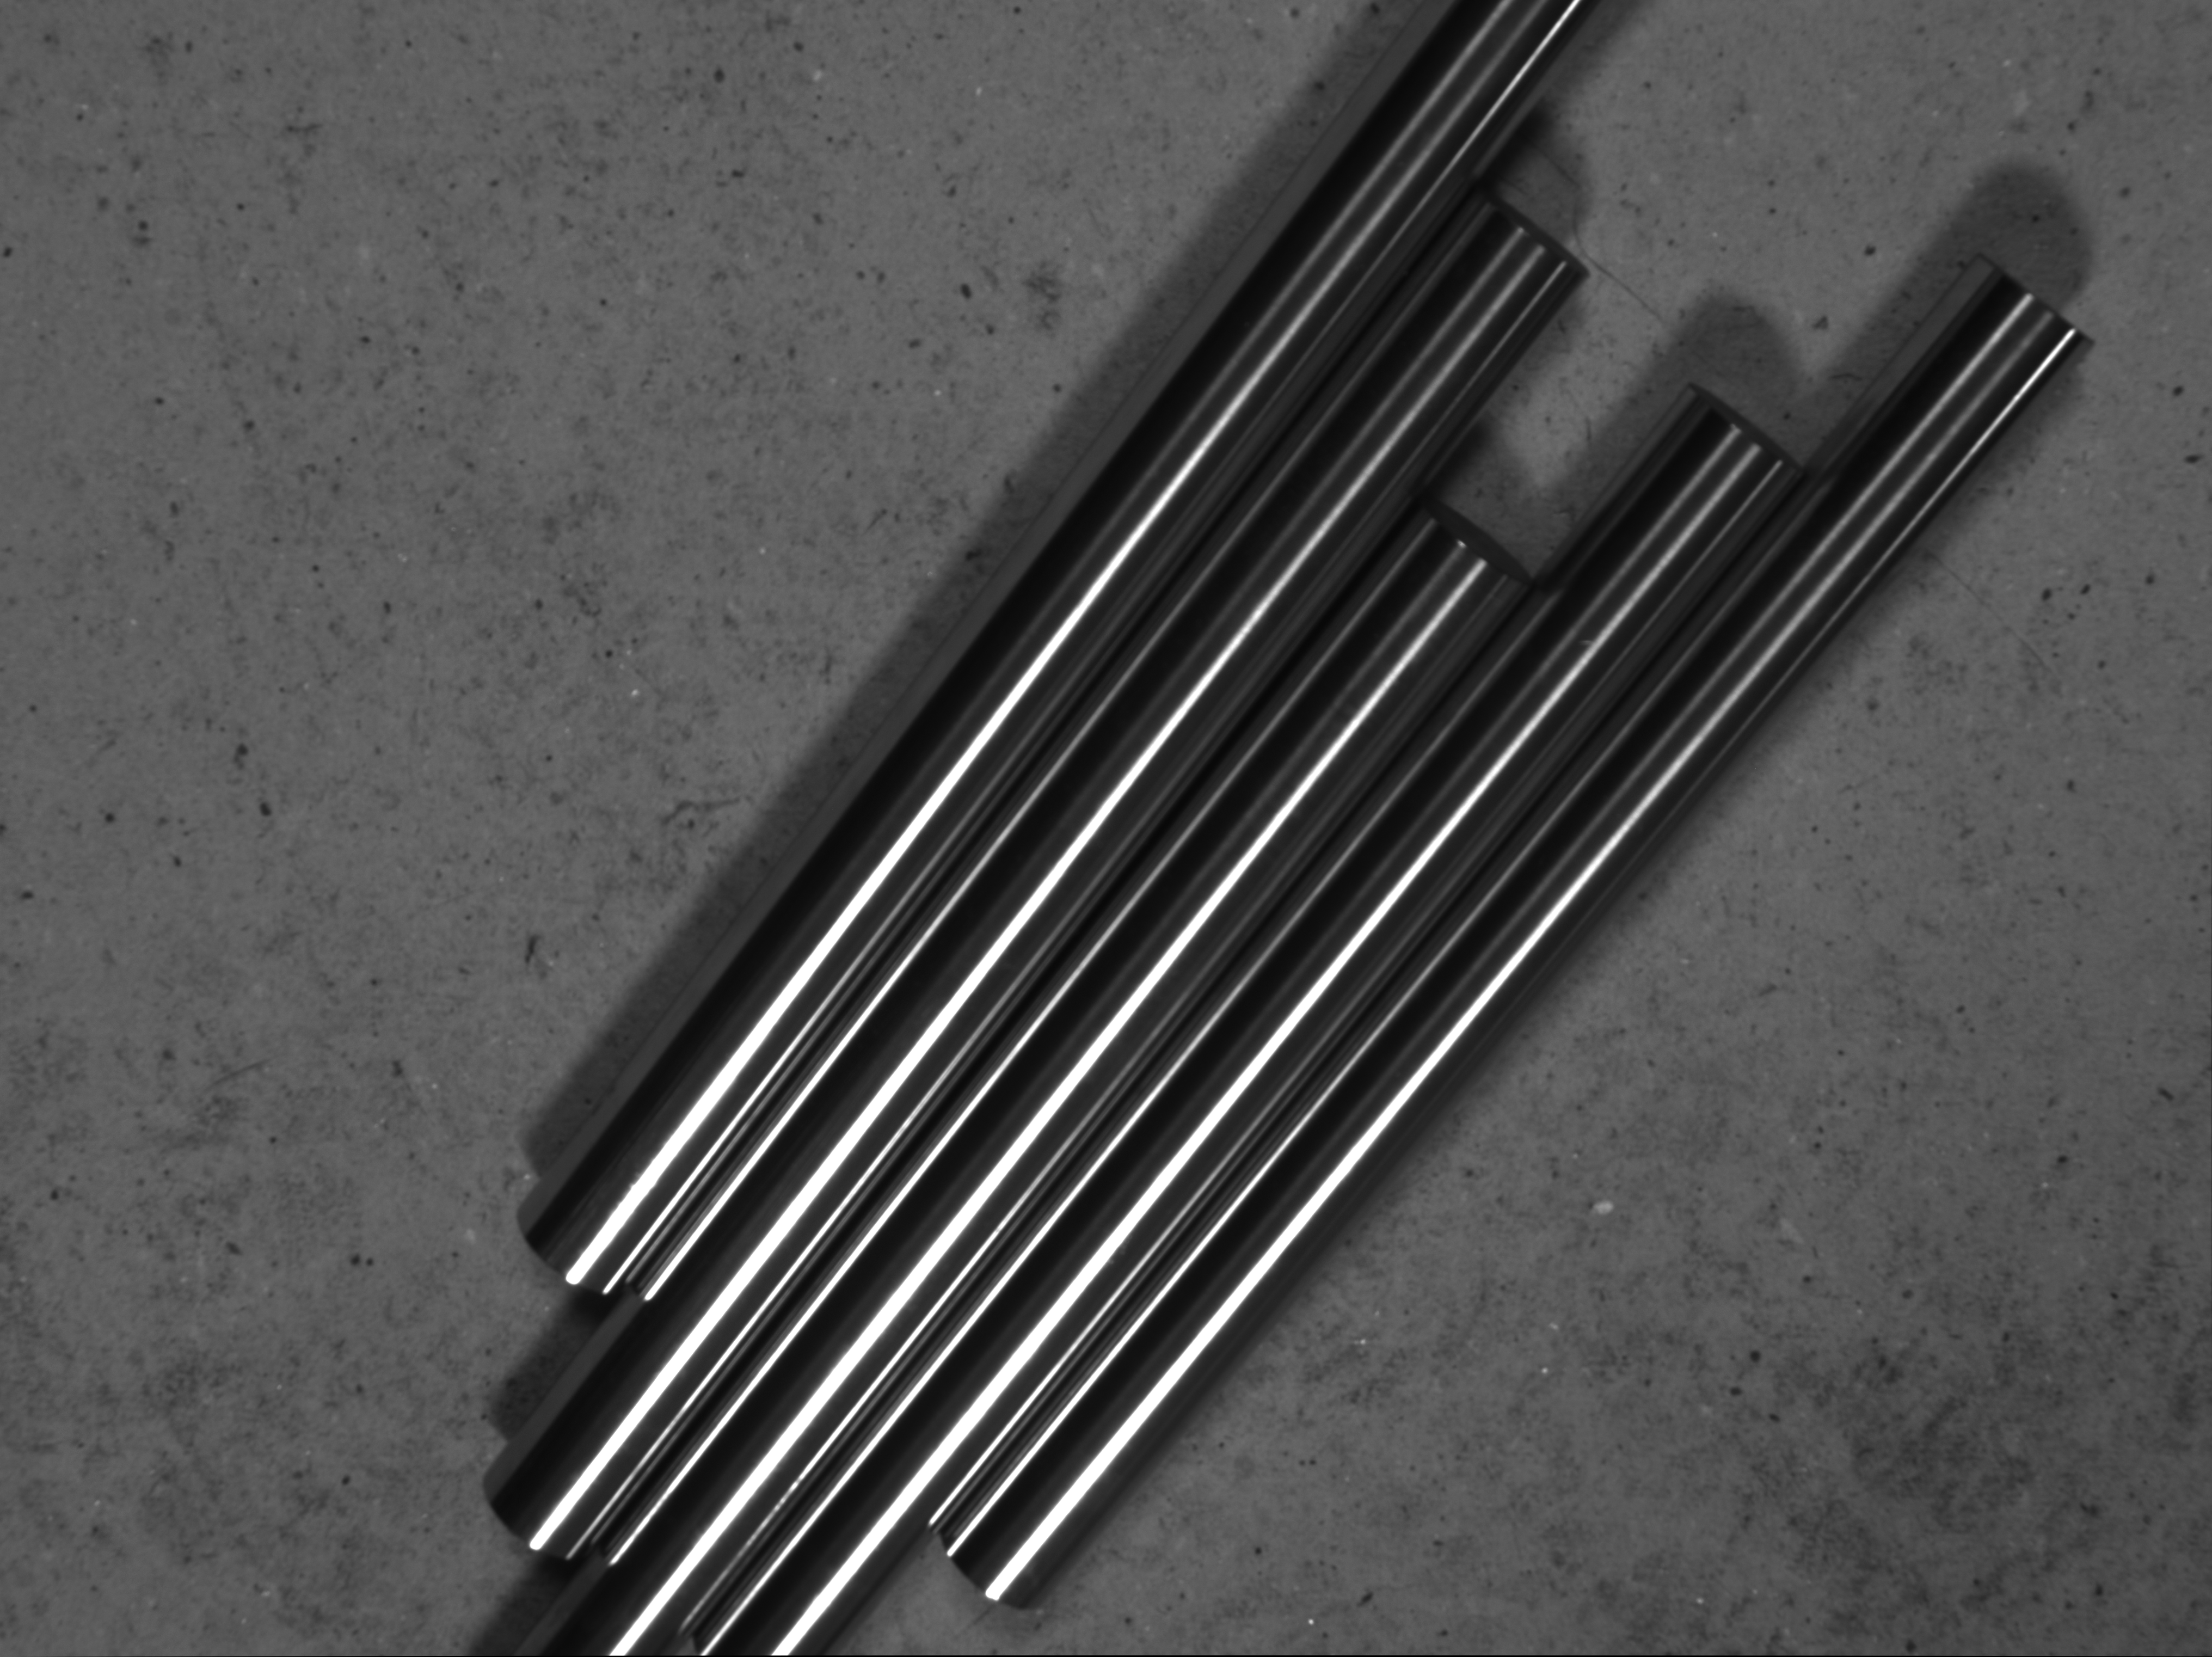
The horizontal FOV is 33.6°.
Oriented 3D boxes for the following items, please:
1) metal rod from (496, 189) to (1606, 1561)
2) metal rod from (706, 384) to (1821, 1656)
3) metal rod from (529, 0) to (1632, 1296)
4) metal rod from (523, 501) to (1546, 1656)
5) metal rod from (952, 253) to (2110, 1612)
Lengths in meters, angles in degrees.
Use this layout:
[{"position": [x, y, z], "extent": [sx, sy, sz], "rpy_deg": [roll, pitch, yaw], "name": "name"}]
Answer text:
[{"position": [-0.015, 0.015, 0.648], "extent": [0.025, 0.025, 0.300], "rpy_deg": [34, 106, -12], "name": "metal rod"}, {"position": [0.022, 0.046, 0.660], "extent": [0.025, 0.025, 0.300], "rpy_deg": [34, 106, -12], "name": "metal rod"}, {"position": [-0.006, -0.037, 0.630], "extent": [0.025, 0.025, 0.300], "rpy_deg": [34, 106, -12], "name": "metal rod"}, {"position": [-0.023, 0.065, 0.666], "extent": [0.025, 0.025, 0.300], "rpy_deg": [34, 106, -12], "name": "metal rod"}, {"position": [0.069, 0.025, 0.653], "extent": [0.025, 0.025, 0.300], "rpy_deg": [34, 106, -12], "name": "metal rod"}]
